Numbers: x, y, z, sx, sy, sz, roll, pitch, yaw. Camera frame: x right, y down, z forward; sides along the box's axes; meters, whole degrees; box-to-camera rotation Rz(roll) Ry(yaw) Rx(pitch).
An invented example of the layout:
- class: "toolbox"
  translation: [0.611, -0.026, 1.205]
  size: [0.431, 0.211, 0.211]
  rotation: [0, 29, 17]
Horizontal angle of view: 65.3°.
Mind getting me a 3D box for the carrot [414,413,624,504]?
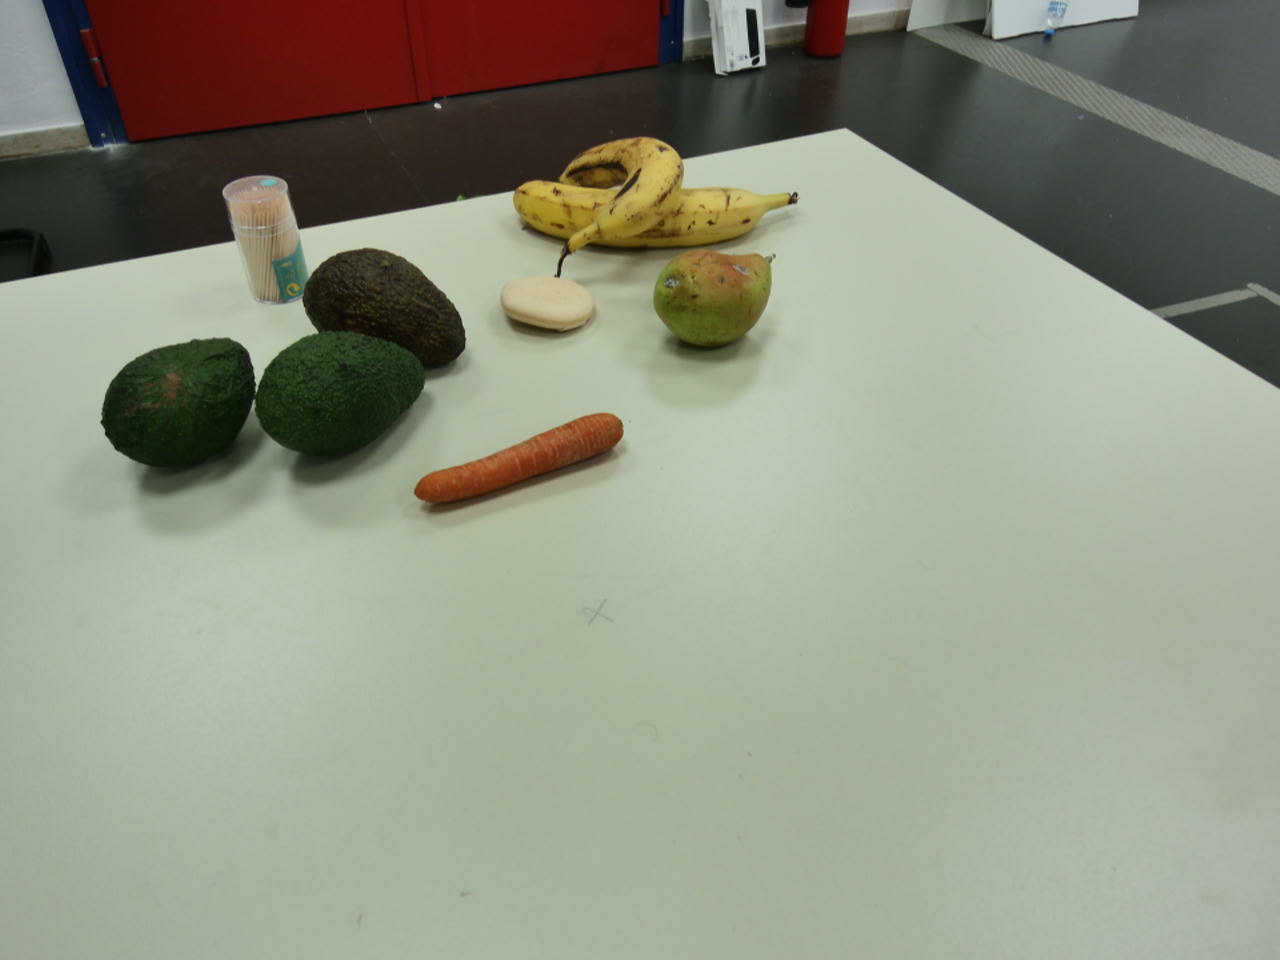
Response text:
- class: "carrot"
  translation: [-0.063, -0.012, 0.543]
  size: [0.122, 0.023, 0.024]
  rotation: [-18, 42, -22]
